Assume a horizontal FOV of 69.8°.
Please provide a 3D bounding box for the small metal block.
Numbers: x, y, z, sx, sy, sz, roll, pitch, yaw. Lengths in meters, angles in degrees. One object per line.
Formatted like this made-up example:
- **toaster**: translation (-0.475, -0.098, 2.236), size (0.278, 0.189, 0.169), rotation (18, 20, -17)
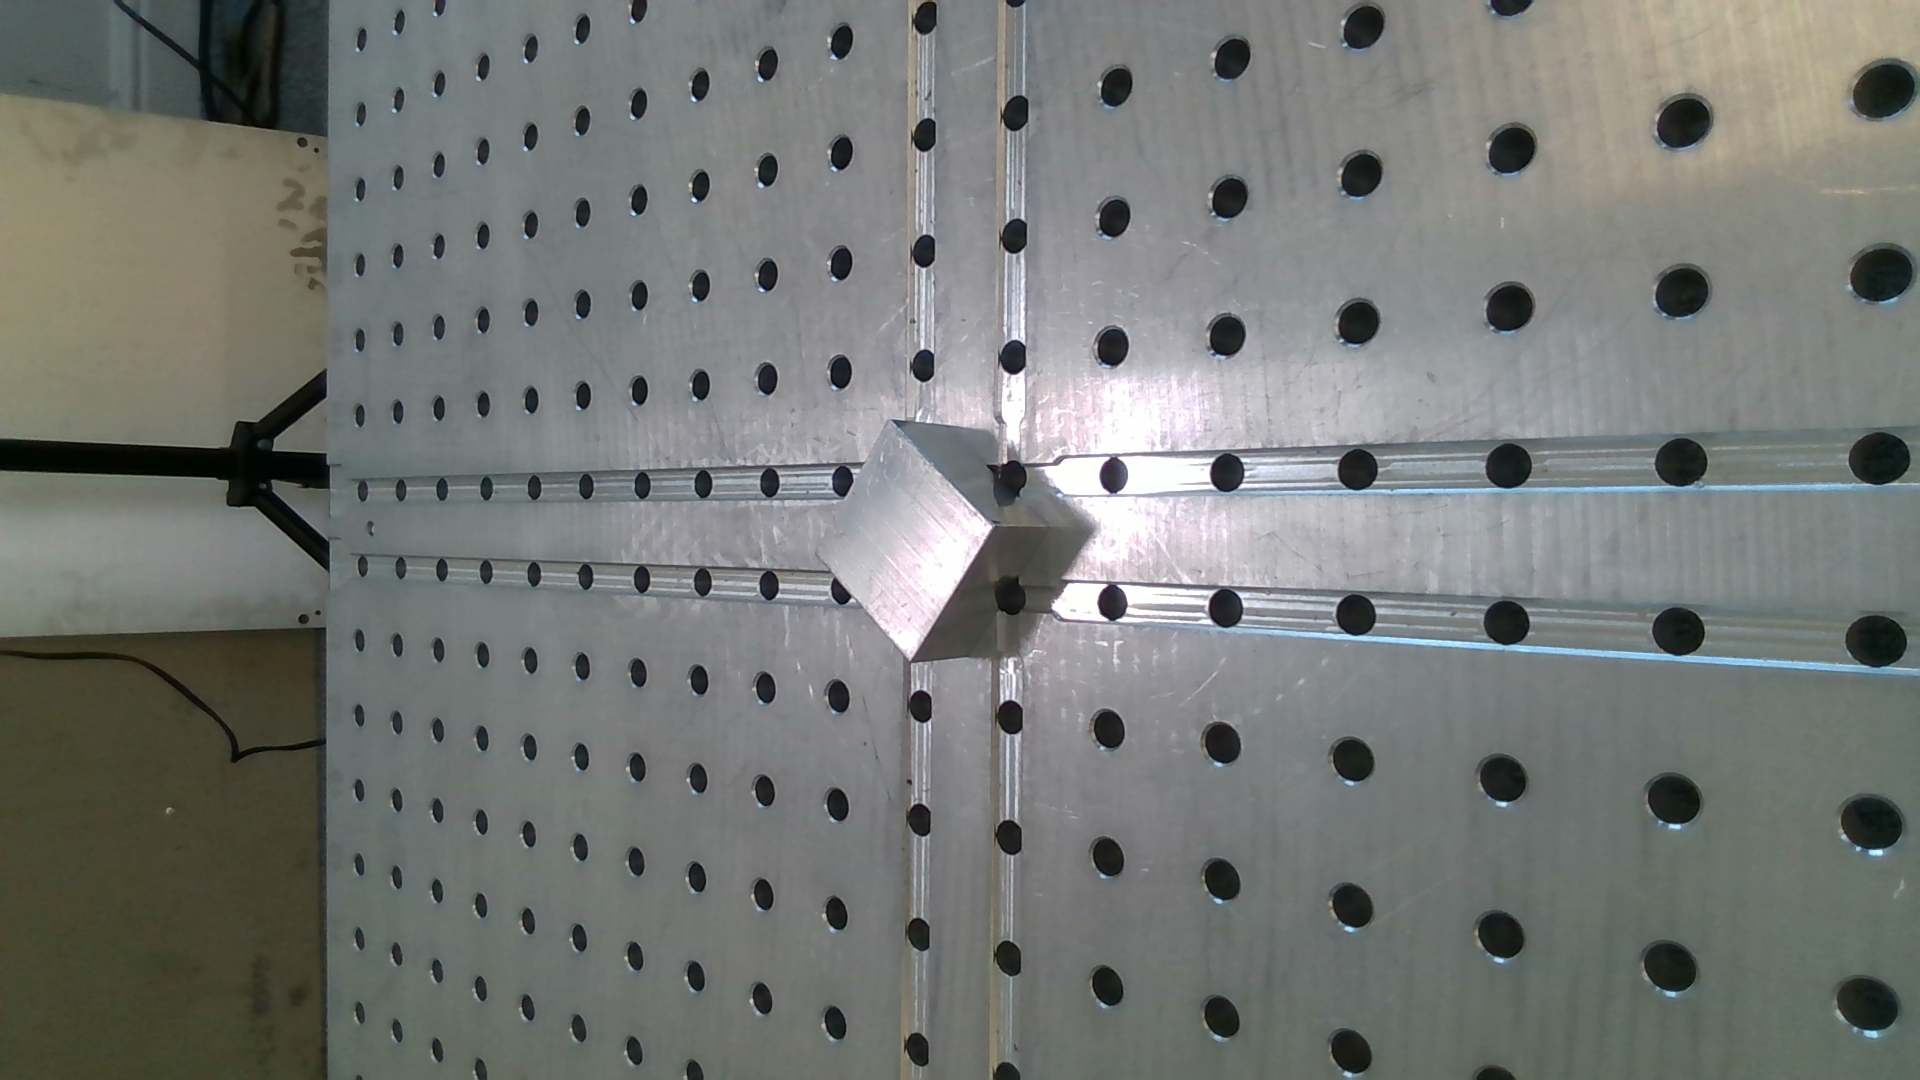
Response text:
- **small metal block**: translation (-0.009, 0.000, 0.402), size (0.050, 0.025, 0.050), rotation (46, 118, 30)
